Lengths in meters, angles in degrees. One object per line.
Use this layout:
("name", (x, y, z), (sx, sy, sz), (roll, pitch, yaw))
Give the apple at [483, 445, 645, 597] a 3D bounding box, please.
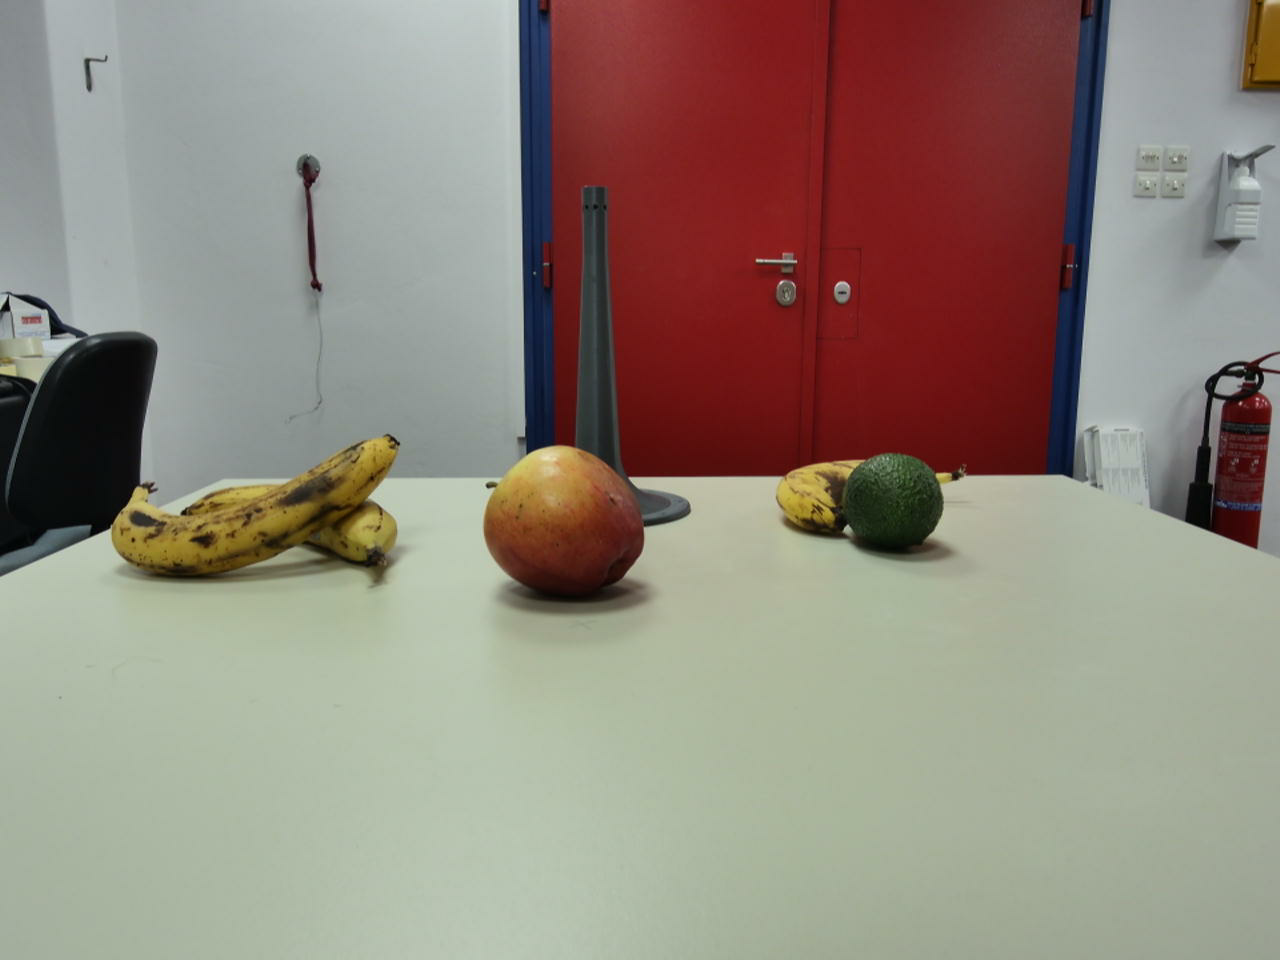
("apple", (-0.045, 0.024, 0.579), (0.086, 0.084, 0.093), (-6, 9, -36))
